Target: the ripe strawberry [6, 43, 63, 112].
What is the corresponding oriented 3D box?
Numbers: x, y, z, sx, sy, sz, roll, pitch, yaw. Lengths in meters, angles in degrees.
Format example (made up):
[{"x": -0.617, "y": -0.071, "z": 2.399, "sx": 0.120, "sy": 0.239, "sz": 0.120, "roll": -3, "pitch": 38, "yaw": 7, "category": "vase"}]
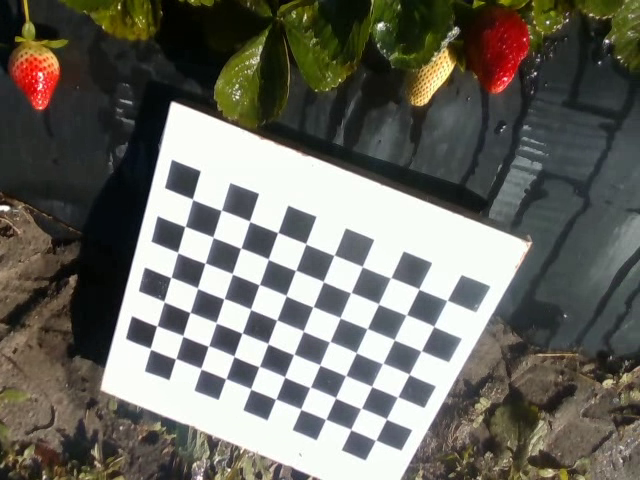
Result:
[{"x": -0.207, "y": -0.119, "z": 0.387, "sx": 0.039, "sy": 0.053, "sz": 0.040, "roll": 0, "pitch": 2, "yaw": 7, "category": "ripe strawberry"}]
